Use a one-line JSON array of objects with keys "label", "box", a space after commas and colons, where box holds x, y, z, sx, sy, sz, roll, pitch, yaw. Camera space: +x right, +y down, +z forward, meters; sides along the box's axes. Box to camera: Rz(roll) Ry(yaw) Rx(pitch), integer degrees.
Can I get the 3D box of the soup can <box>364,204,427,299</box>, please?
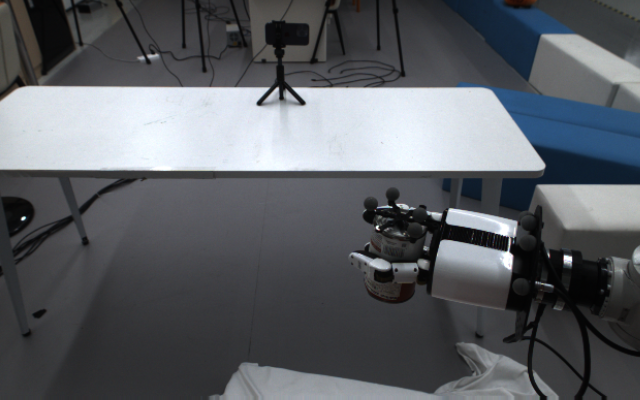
[{"label": "soup can", "box": [0.096, 0.070, 0.611, 0.067, 0.101, 0.067, 3, 30, -2]}]
